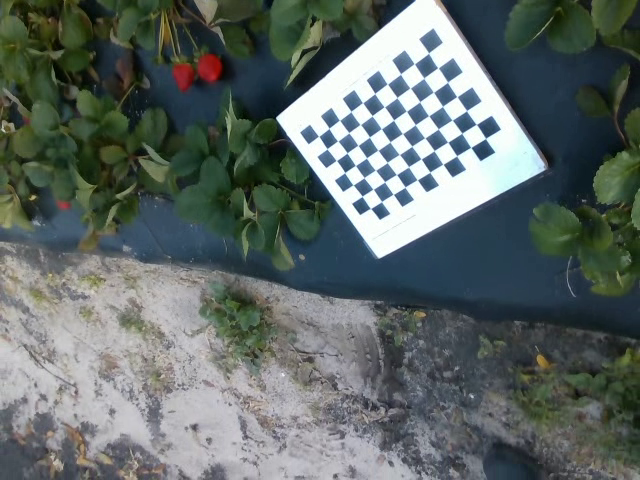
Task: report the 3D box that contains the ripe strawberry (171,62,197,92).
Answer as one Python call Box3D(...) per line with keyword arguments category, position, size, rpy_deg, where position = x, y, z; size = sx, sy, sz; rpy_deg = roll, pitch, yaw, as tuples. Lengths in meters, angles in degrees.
Box3D(category="ripe strawberry", position=(-0.257, -0.304, 1.108), size=(0.048, 0.056, 0.041), rpy_deg=(-14, -7, 32))

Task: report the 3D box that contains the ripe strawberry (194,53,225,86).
Box3D(category="ripe strawberry", position=(-0.205, -0.307, 1.073), size=(0.051, 0.064, 0.058), rpy_deg=(1, -44, -40))
